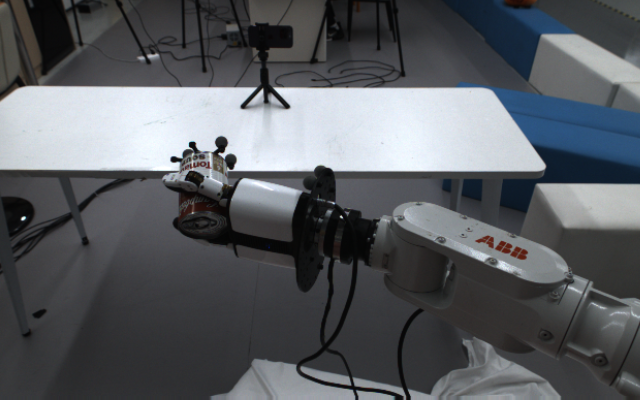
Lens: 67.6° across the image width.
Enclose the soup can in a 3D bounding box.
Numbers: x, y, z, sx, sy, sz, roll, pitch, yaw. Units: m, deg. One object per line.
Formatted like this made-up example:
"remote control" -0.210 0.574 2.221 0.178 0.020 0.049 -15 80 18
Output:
"soup can" -0.156 -0.006 0.655 0.067 0.067 0.101 -5 56 -9
